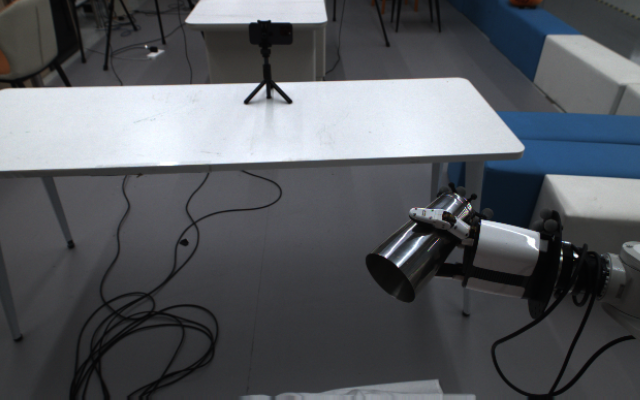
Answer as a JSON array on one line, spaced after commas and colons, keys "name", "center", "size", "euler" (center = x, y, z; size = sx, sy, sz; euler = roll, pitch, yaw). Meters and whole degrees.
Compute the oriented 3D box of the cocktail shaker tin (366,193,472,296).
[{"name": "cocktail shaker tin", "center": [0.159, 0.058, 0.730], "size": [0.170, 0.093, 0.093], "euler": [-39, 50, -23]}]
